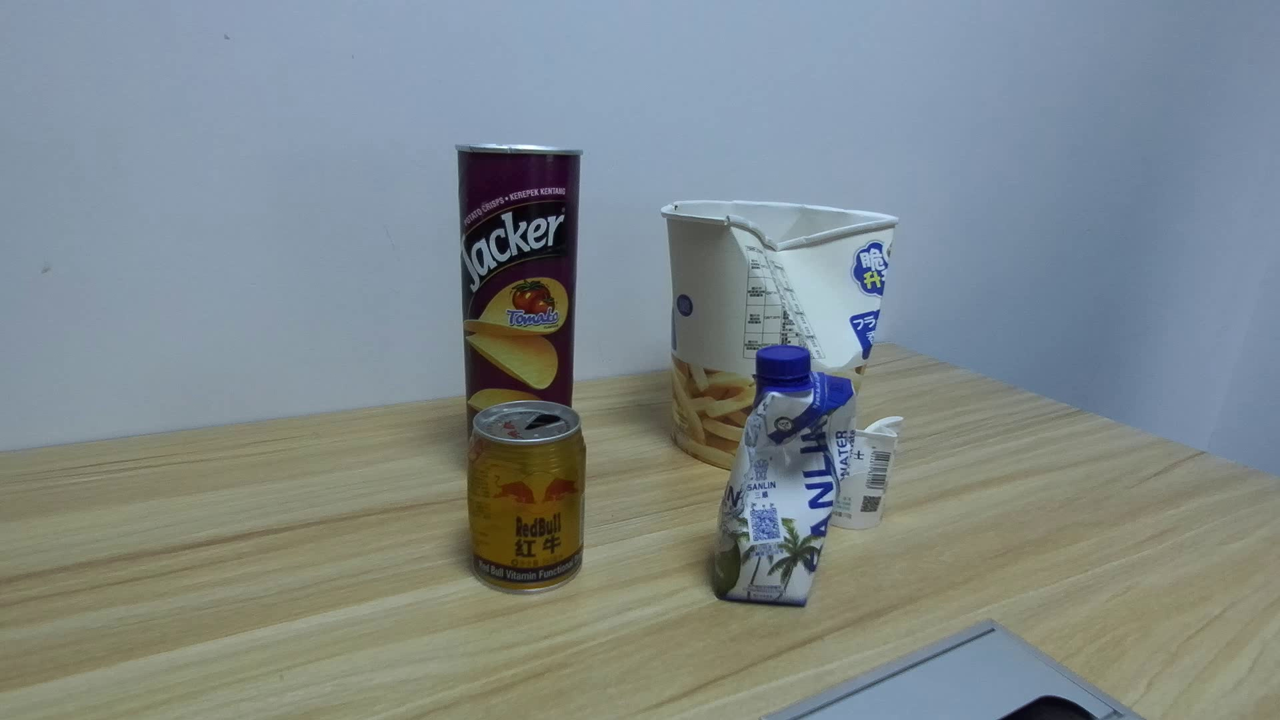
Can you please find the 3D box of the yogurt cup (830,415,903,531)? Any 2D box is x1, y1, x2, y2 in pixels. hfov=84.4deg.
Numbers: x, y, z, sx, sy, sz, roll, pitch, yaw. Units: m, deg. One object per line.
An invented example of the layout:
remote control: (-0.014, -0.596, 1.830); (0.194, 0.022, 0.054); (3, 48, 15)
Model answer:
yogurt cup: (0.146, 0.073, 0.486); (0.054, 0.072, 0.055); (14, 24, 28)

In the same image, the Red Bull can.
Red Bull can: (-0.065, 0.077, 0.406); (0.068, 0.093, 0.068); (3, 16, -1)

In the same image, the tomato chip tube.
tomato chip tube: (-0.084, -0.028, 0.501); (0.080, 0.234, 0.076); (4, 16, 4)

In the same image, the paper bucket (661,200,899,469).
paper bucket: (0.099, -0.022, 0.575); (0.168, 0.202, 0.163); (11, 22, 30)

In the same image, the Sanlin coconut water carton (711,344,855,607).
Sanlin coconut water carton: (0.082, 0.065, 0.386); (0.068, 0.144, 0.056); (12, 24, 0)
